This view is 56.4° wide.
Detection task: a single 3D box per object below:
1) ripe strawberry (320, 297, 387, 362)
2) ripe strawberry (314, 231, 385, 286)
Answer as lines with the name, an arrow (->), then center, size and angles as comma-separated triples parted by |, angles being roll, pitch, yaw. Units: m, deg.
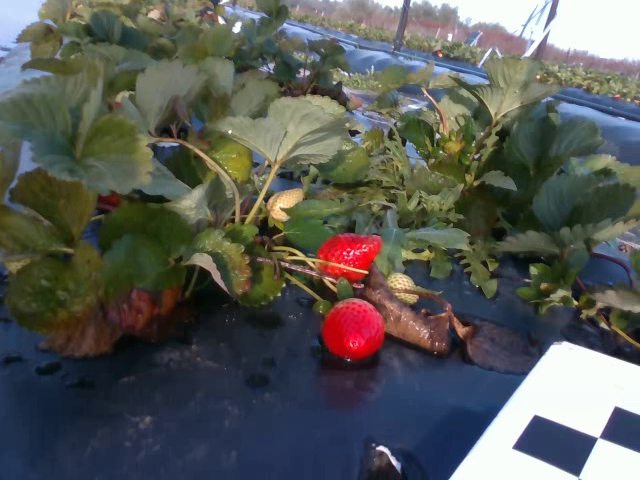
ripe strawberry -> 0.016, 0.045, 0.286 | 0.035, 0.030, 0.043 | 2, 20, 0
ripe strawberry -> 0.019, 0.005, 0.368 | 0.048, 0.032, 0.039 | -35, 4, 33
